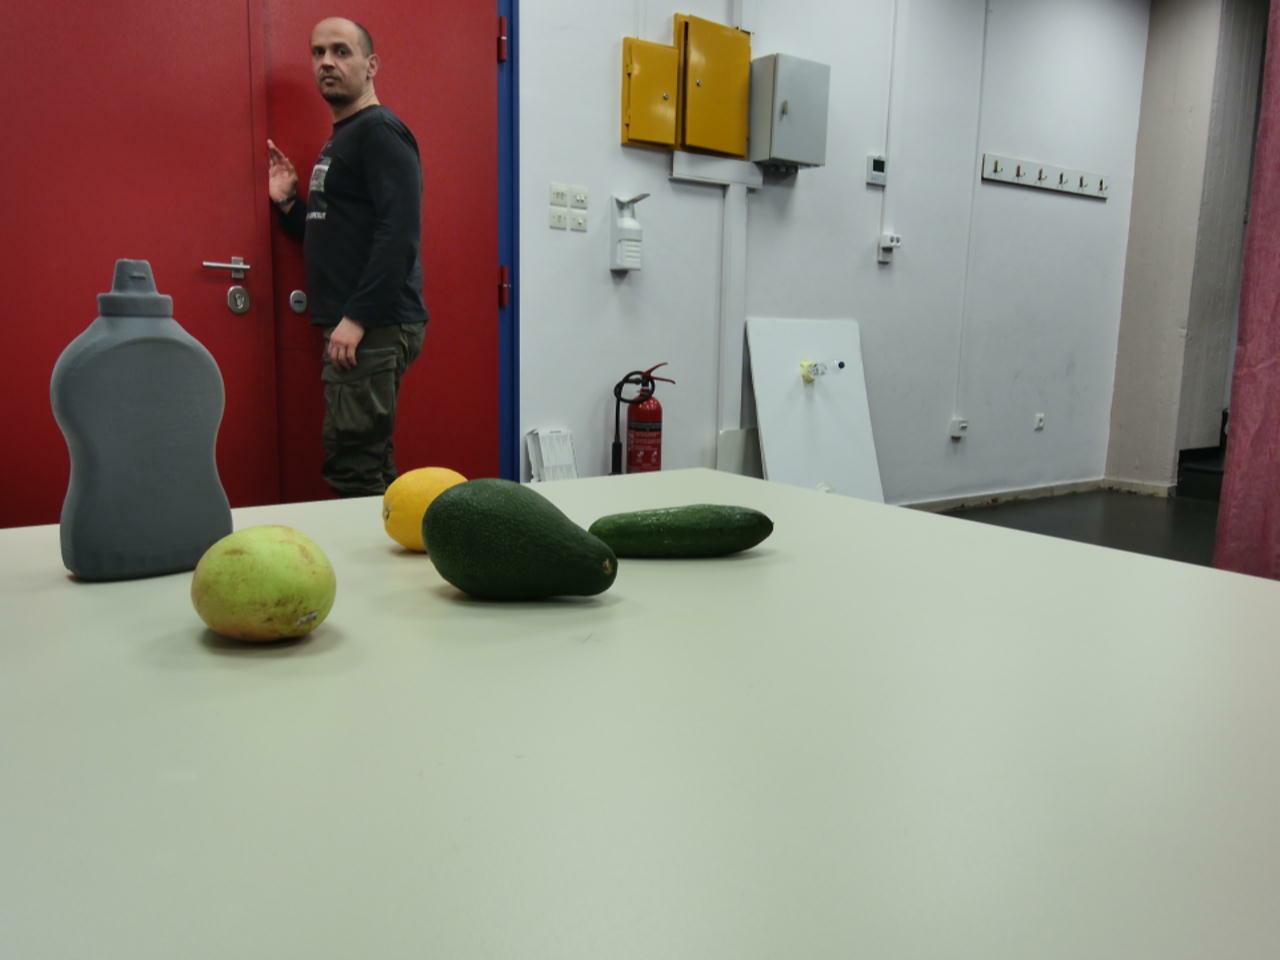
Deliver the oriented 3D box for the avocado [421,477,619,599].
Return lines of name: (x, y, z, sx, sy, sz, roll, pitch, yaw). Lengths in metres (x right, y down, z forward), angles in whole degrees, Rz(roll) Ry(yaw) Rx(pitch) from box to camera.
avocado: (-0.073, 0.035, 0.583, 0.110, 0.071, 0.072, 5, 8, 31)
